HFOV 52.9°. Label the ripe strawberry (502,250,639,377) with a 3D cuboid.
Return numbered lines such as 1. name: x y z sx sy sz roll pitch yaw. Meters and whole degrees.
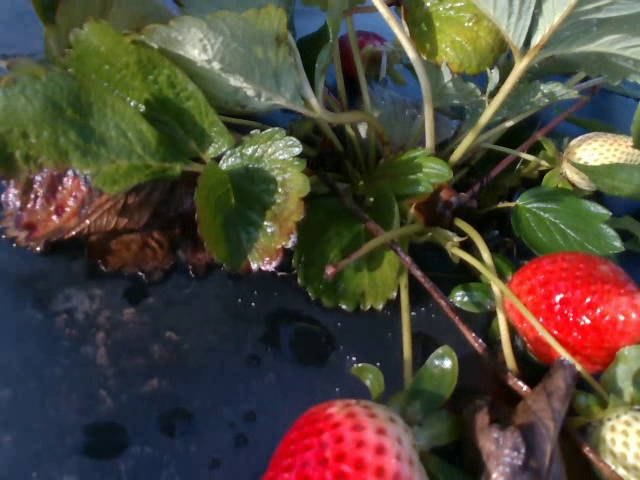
1. ripe strawberry: 0.072 0.015 0.168 0.040 0.032 0.049 -8 -7 -16
